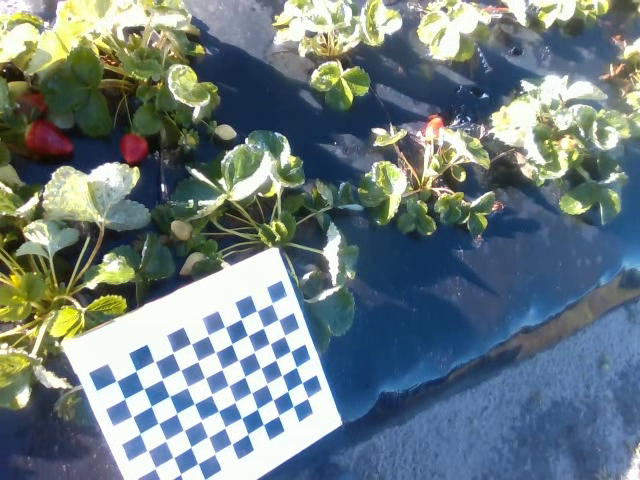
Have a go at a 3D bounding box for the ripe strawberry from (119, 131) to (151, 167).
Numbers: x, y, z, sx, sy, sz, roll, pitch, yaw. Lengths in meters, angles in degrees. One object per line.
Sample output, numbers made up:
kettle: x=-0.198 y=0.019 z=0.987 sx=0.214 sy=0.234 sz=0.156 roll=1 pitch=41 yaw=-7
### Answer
ripe strawberry: x=-0.231 y=-0.111 z=0.779 sx=0.039 sy=0.047 sz=0.040 roll=19 pitch=-26 yaw=-27

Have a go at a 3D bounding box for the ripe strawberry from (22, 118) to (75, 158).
ripe strawberry: x=-0.318 y=-0.118 z=0.745 sx=0.056 sy=0.044 sz=0.040 roll=30 pitch=-20 yaw=-24
